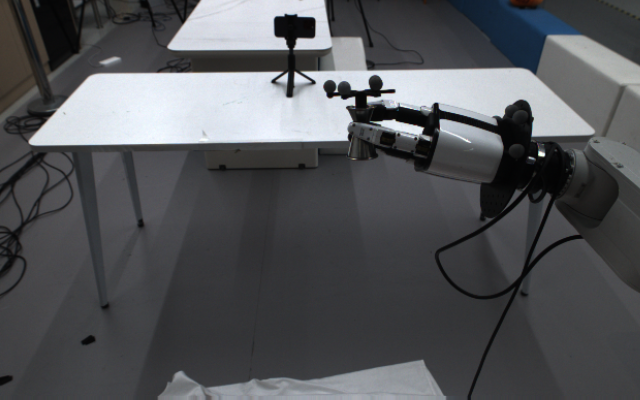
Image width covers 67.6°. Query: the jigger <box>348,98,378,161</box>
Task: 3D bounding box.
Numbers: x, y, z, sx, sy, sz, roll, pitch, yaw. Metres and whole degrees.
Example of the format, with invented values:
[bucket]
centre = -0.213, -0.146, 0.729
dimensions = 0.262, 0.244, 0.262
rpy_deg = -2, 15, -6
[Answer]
[jigger]
centre = 0.056, -0.091, 0.647
dimensions = 0.043, 0.071, 0.043
rpy_deg = -2, 19, 1
